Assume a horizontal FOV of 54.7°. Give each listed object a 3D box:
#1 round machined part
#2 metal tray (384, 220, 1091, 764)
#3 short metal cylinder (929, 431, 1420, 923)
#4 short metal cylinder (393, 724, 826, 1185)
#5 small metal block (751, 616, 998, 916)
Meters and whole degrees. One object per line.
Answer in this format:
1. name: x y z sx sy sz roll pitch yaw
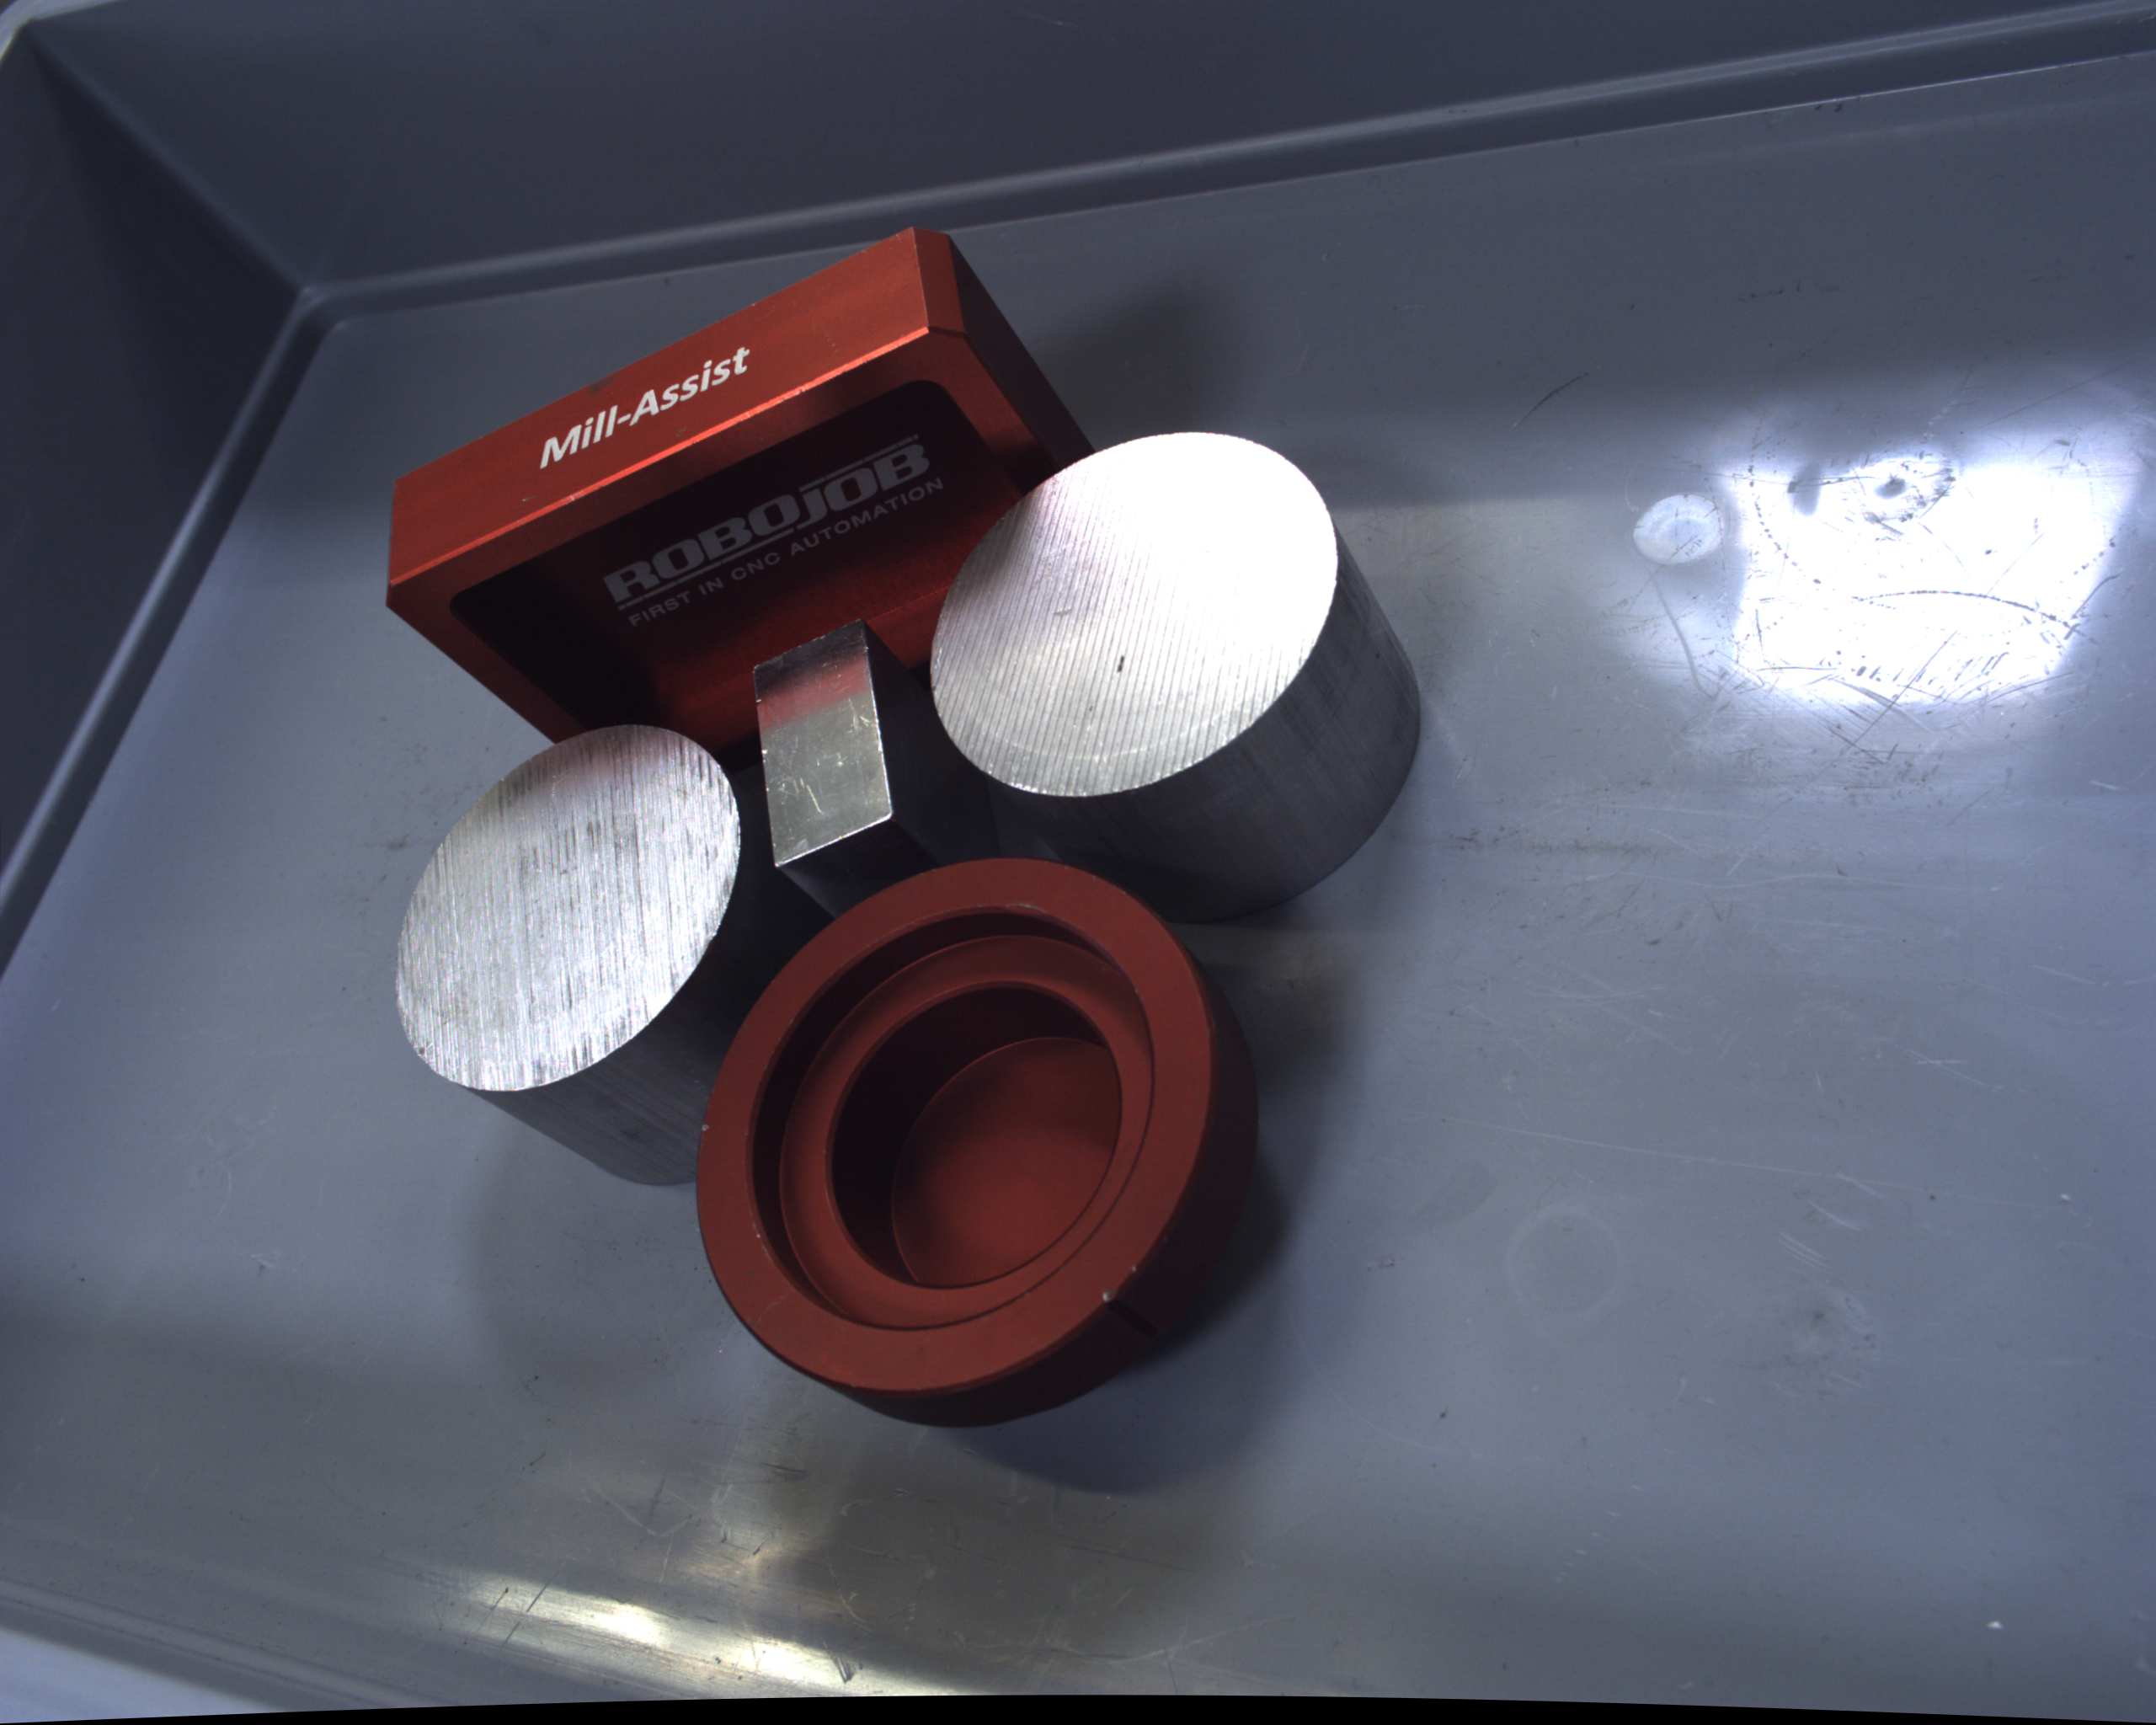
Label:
1. round machined part: -0.014 0.051 0.368 0.098 0.042 0.098 -13 56 21
2. metal tray: -0.065 -0.068 0.436 0.130 0.090 0.030 -22 54 16
3. short metal cylinder: 0.019 -0.035 0.399 0.080 0.050 0.080 -13 56 21
4. short metal cylinder: -0.089 0.019 0.422 0.080 0.050 0.080 -13 56 21
5. small metal block: -0.039 -0.012 0.414 0.025 0.050 0.050 -23 53 15
